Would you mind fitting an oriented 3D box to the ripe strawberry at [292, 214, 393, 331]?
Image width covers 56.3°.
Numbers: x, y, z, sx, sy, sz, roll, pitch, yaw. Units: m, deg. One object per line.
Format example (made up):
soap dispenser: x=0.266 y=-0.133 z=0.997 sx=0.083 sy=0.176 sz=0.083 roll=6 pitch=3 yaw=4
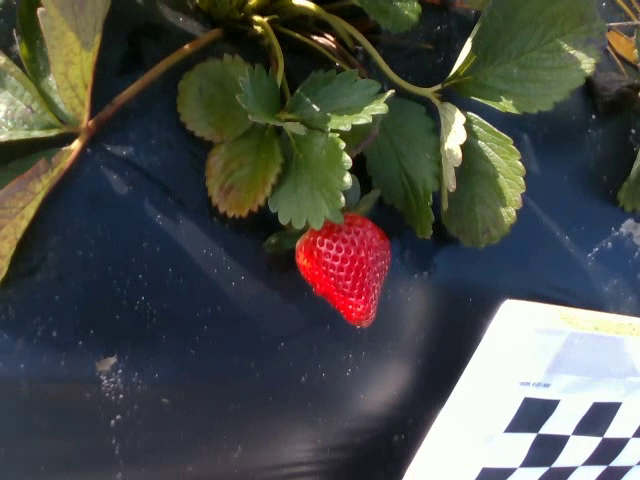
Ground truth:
ripe strawberry: x=0.011 y=0.012 z=0.200 sx=0.041 sy=0.047 sz=0.041 roll=-11 pitch=-24 yaw=-2
